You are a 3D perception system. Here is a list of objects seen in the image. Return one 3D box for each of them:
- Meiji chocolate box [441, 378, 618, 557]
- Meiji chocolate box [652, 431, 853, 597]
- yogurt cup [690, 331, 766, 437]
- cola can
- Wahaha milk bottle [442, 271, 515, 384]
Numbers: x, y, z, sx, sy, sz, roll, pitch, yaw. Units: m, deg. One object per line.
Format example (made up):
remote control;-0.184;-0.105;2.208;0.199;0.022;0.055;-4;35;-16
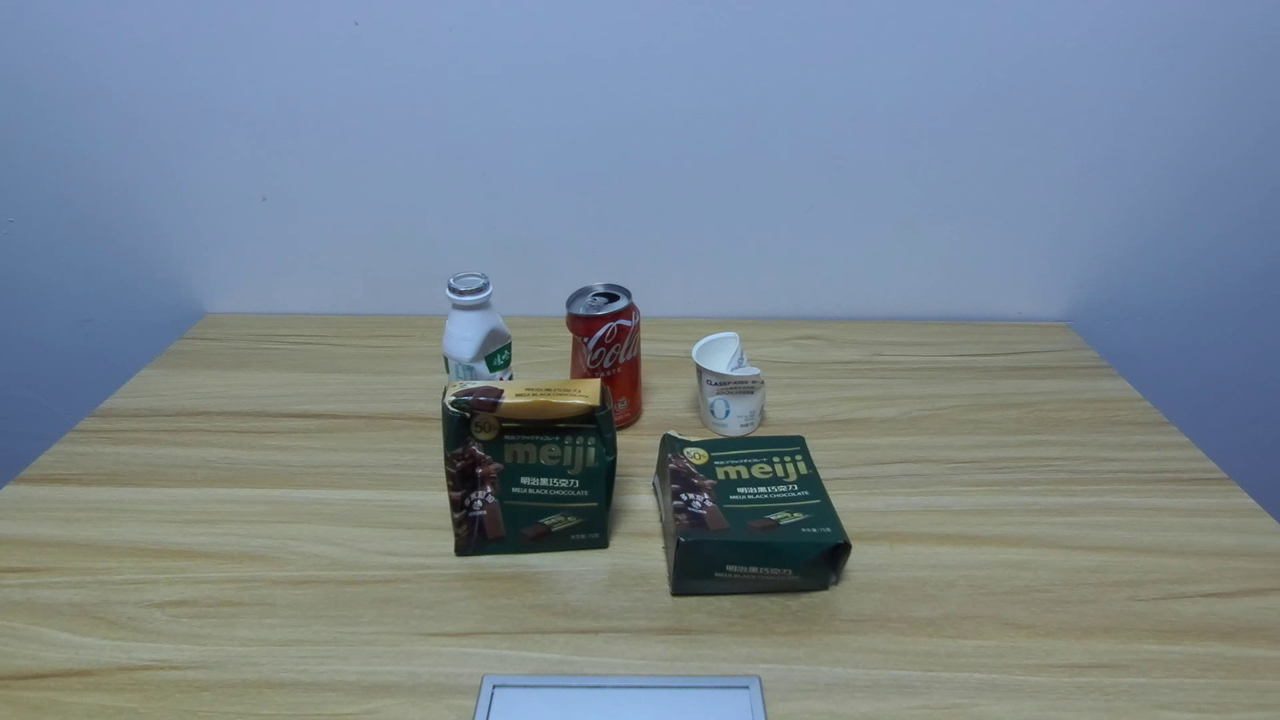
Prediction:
Meiji chocolate box;-0.075;0.072;0.491;0.117;0.117;0.051;-2;23;-4
Meiji chocolate box;0.073;0.105;0.493;0.116;0.058;0.122;1;32;-6
yogurt cup;0.076;0.024;0.605;0.067;0.070;0.067;1;33;0
cola can;-0.029;-0.001;0.605;0.065;0.117;0.072;-4;29;-9
Wahaha milk bottle;-0.128;0.003;0.566;0.056;0.148;0.056;2;31;-1
